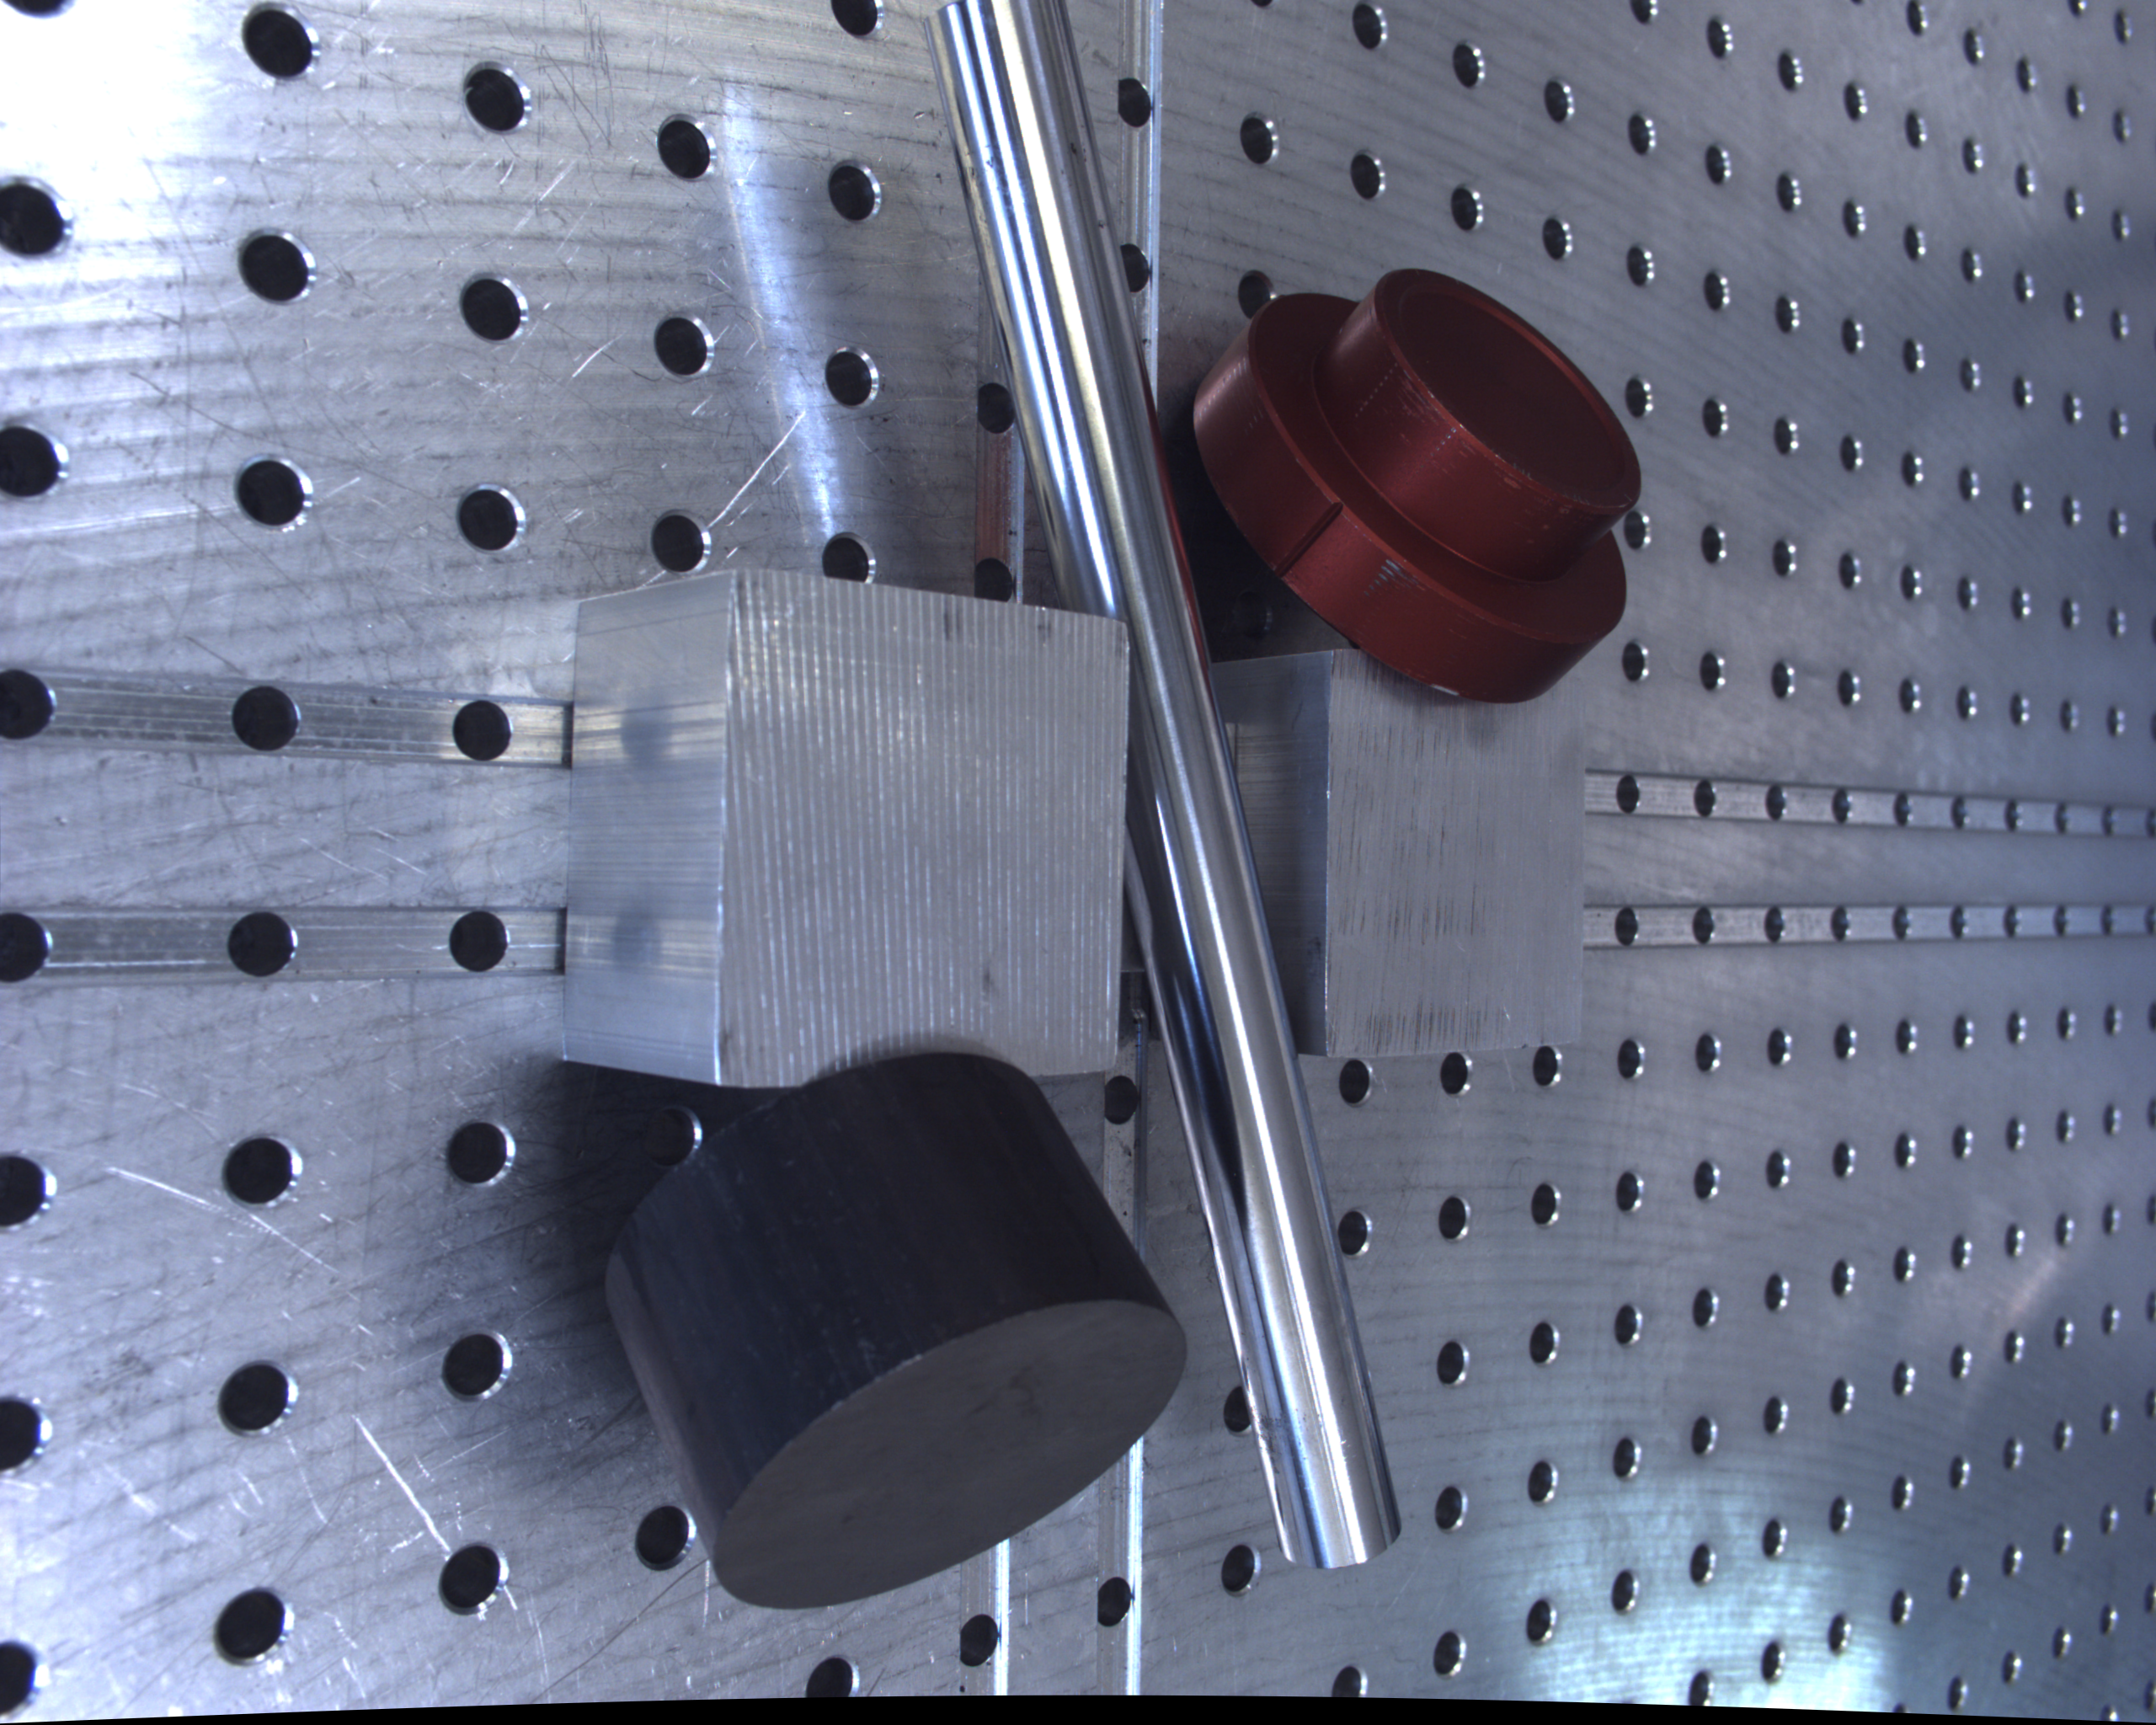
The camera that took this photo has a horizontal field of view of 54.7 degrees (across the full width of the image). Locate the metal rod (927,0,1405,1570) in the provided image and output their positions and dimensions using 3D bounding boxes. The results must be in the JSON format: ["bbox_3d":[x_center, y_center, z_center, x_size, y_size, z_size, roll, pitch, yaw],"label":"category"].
[{"bbox_3d":[0.020,-0.007,0.392,0.025,0.025,0.298,-22,104,-38],"label":"metal rod"}]

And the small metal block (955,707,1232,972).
[{"bbox_3d":[0.003,-0.004,0.413,0.050,0.025,0.050,1,90,-40],"label":"small metal block"}]

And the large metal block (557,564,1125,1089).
[{"bbox_3d":[-0.040,-0.004,0.360,0.081,0.050,0.080,3,89,-40],"label":"large metal block"}]

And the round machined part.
[{"bbox_3d":[0.076,-0.083,0.430,0.099,0.042,0.098,23,43,-23],"label":"round machined part"}]

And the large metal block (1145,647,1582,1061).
[{"bbox_3d":[0.062,-0.001,0.446,0.081,0.050,0.080,1,89,-40],"label":"large metal block"}]

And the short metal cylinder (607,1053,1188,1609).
[{"bbox_3d":[-0.030,0.077,0.341,0.081,0.050,0.080,-21,143,-17],"label":"short metal cylinder"}]
